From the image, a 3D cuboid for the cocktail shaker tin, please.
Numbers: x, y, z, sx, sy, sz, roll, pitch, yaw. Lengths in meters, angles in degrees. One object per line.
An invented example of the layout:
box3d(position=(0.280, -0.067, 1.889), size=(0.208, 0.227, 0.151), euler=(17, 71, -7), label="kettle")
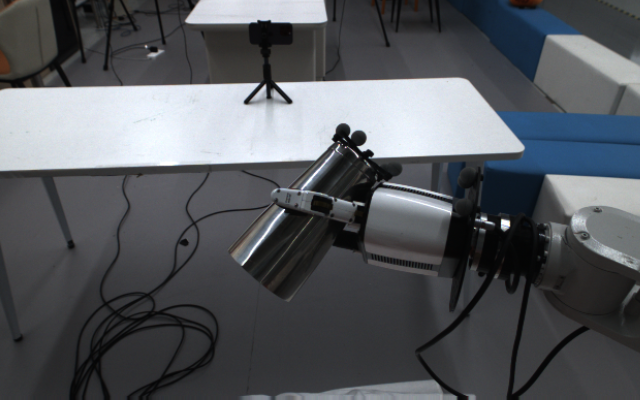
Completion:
box3d(position=(-0.011, 0.016, 0.548), size=(0.170, 0.093, 0.093), euler=(-48, 49, -4), label="cocktail shaker tin")
